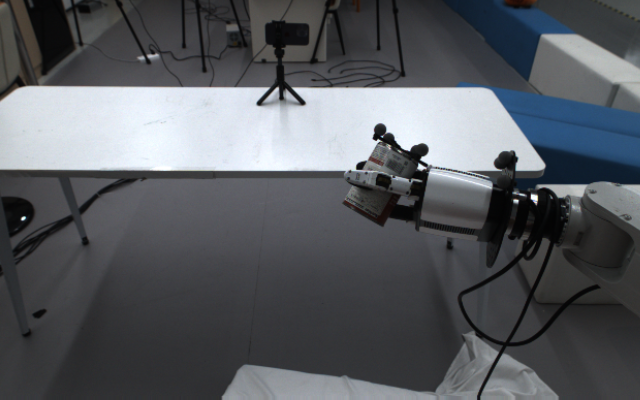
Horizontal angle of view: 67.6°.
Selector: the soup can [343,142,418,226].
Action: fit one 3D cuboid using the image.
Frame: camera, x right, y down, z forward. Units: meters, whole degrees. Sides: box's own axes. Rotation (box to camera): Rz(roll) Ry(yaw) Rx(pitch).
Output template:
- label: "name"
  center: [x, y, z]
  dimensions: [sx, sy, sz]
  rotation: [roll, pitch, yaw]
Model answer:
- label: "soup can"
  center: [0.086, -0.023, 0.684]
  dimensions: [0.067, 0.101, 0.067]
  rotation: [30, 1, -1]
